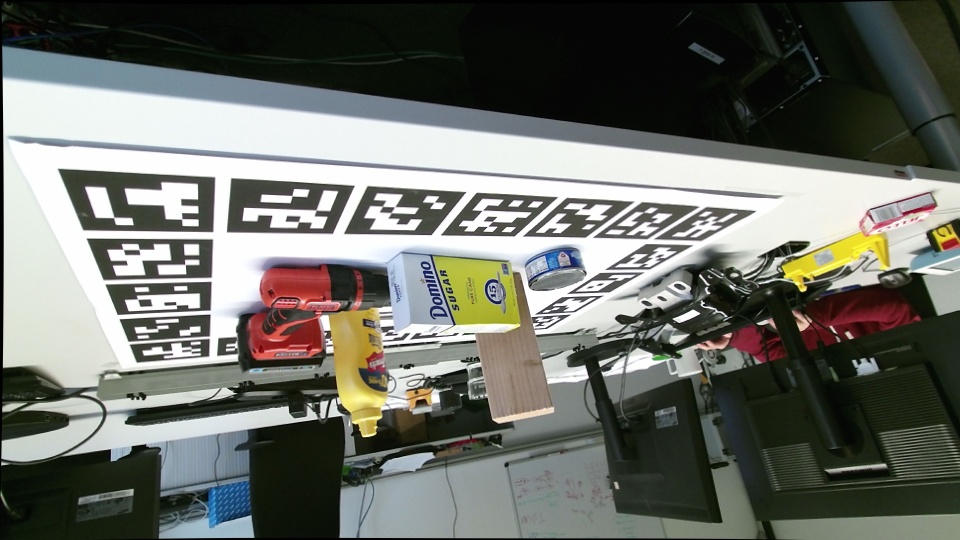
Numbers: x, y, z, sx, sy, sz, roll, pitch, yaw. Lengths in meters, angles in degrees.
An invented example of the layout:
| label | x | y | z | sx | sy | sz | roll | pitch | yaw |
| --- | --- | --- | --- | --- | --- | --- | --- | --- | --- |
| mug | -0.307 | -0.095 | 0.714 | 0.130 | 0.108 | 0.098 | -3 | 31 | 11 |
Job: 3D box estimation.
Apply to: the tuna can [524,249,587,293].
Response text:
| label | x | y | z | sx | sy | sz | roll | pitch | yaw |
| --- | --- | --- | --- | --- | --- | --- | --- | --- | --- |
| tuna can | 0.108 | 0.004 | 0.771 | 0.086 | 0.033 | 0.086 | -12 | 156 | -5 |

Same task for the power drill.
| label | x | y | z | sx | sy | sz | roll | pitch | yaw |
| --- | --- | --- | --- | --- | --- | --- | --- | --- | --- |
| power drill | -0.204 | 0.066 | 0.706 | 0.185 | 0.057 | 0.187 | 5 | 144 | -38 |

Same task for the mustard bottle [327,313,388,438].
| label | x | y | z | sx | sy | sz | roll | pitch | yaw |
| --- | --- | --- | --- | --- | --- | --- | --- | --- | --- |
| mustard bottle | -0.167 | 0.139 | 0.747 | 0.058 | 0.190 | 0.096 | -20 | 156 | 10 |

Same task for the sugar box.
| label | x | y | z | sx | sy | sz | roll | pitch | yaw |
| --- | --- | --- | --- | --- | --- | --- | --- | --- | --- |
| sugar box | -0.039 | 0.035 | 0.694 | 0.177 | 0.092 | 0.045 | 6 | 153 | -36 |

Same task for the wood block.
| label | x | y | z | sx | sy | sz | roll | pitch | yaw |
| --- | --- | --- | --- | --- | --- | --- | --- | --- | --- |
| wood block | 0.046 | 0.119 | 0.812 | 0.091 | 0.205 | 0.090 | -15 | 156 | 0 |

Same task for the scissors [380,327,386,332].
| label | x | y | z | sx | sy | sz | roll | pitch | yaw |
| --- | --- | --- | --- | --- | --- | --- | --- | --- | --- |
| scissors | -0.085 | 0.092 | 0.888 | 0.203 | 0.016 | 0.088 | -1 | 158 | -28 |
